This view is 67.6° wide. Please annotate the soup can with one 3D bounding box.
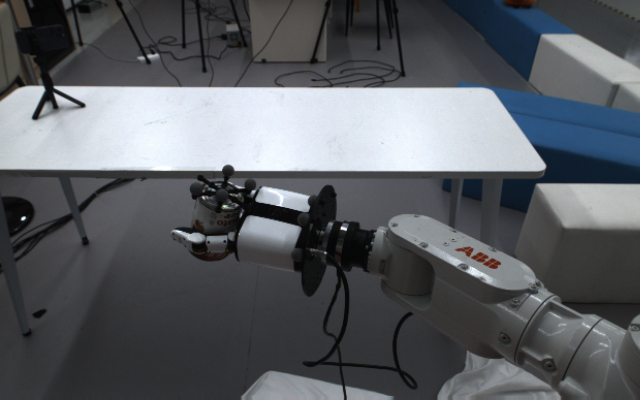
[{"bbox_3d":[-0.153,0.032,0.706,0.067,0.101,0.067,15,36,-11],"label":"soup can"}]
